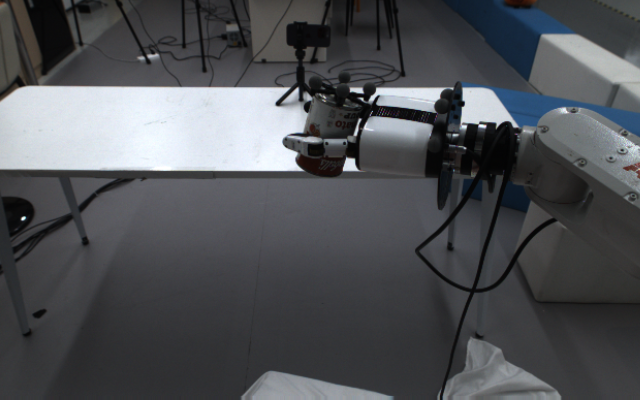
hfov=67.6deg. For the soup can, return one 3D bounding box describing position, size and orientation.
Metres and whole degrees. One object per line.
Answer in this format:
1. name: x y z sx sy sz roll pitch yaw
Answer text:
1. soup can: 0.012 -0.090 0.644 0.067 0.101 0.067 13 30 -8
